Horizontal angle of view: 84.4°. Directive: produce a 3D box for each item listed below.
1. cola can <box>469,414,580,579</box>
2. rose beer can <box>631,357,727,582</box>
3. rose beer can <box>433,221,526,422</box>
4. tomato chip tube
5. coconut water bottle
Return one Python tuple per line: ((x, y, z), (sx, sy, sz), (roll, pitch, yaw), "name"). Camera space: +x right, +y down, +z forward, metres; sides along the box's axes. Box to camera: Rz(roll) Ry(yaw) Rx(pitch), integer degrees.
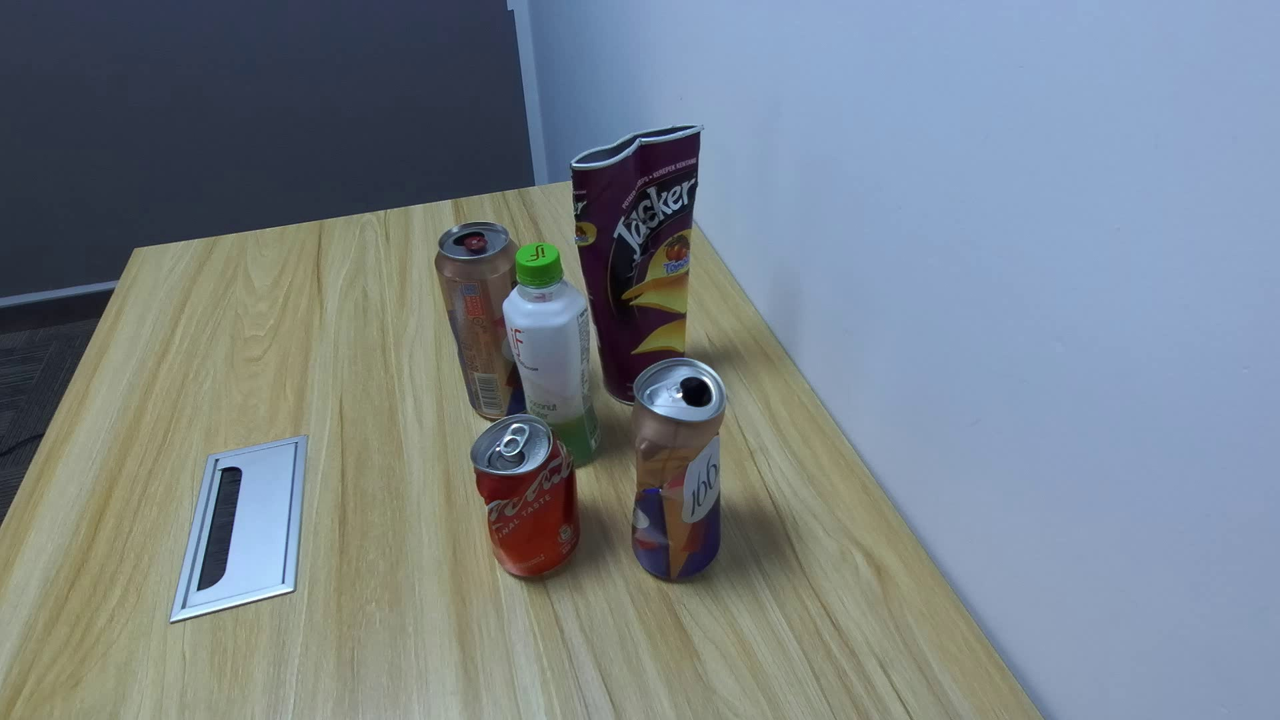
((-0.079, 0.095, 0.498), (0.069, 0.113, 0.065), (-23, 44, -21), "cola can")
((0.024, 0.077, 0.474), (0.068, 0.162, 0.073), (-10, 43, -10), "rose beer can")
((-0.126, -0.028, 0.602), (0.068, 0.169, 0.068), (-3, 38, 3), "rose beer can")
((-0.001, -0.068, 0.588), (0.090, 0.236, 0.078), (6, 42, 6), "tomato chip tube")
((-0.067, -0.001, 0.544), (0.063, 0.189, 0.063), (-2, 38, 2), "coconut water bottle")
